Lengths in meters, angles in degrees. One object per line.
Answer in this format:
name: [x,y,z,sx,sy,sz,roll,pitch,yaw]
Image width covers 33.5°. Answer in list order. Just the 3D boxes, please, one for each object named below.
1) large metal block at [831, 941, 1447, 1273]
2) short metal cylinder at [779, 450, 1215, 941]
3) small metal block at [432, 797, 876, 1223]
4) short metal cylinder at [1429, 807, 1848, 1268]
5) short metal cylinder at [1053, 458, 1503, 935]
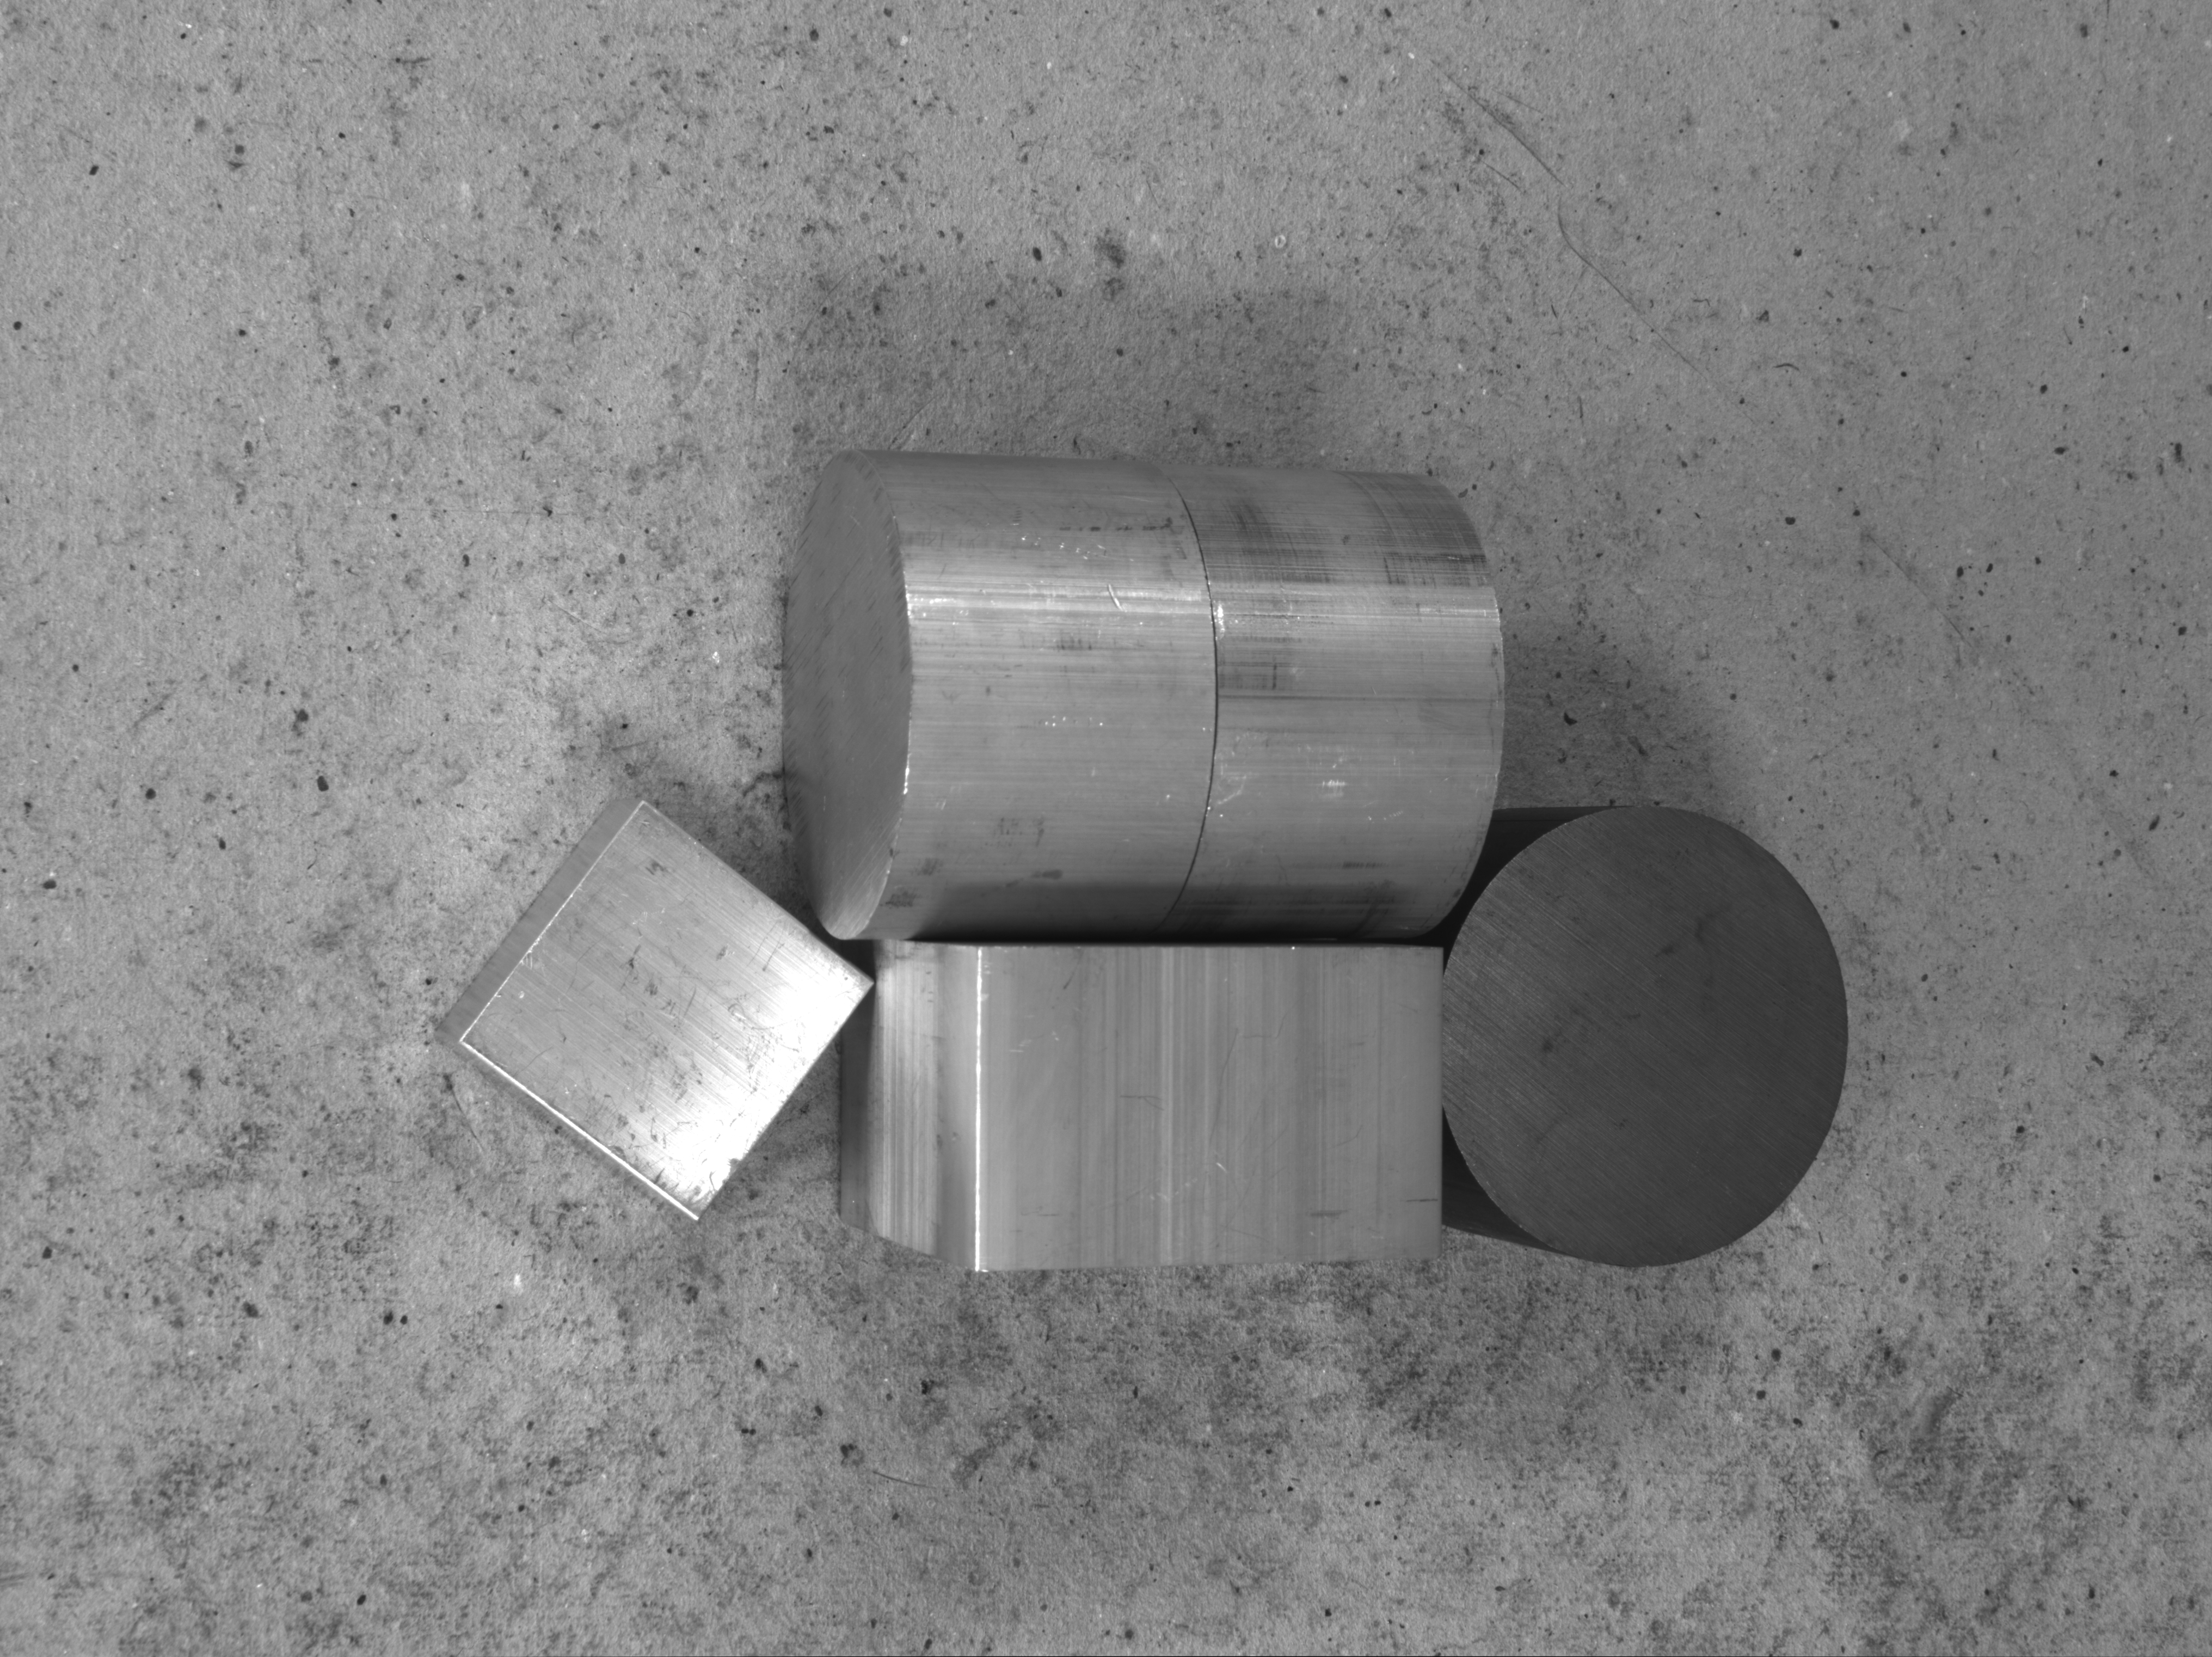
large metal block: [0.004,0.044,0.617,0.080,0.080,0.050,1,90,-20]
short metal cylinder: [-0.020,-0.021,0.608,0.050,0.080,0.080,1,90,-20]
small metal block: [-0.076,0.030,0.617,0.050,0.025,0.050,40,77,-16]
short metal cylinder: [0.085,0.036,0.661,0.080,0.050,0.080,0,90,-20]
short metal cylinder: [0.027,-0.022,0.625,0.050,0.080,0.080,1,90,-20]
